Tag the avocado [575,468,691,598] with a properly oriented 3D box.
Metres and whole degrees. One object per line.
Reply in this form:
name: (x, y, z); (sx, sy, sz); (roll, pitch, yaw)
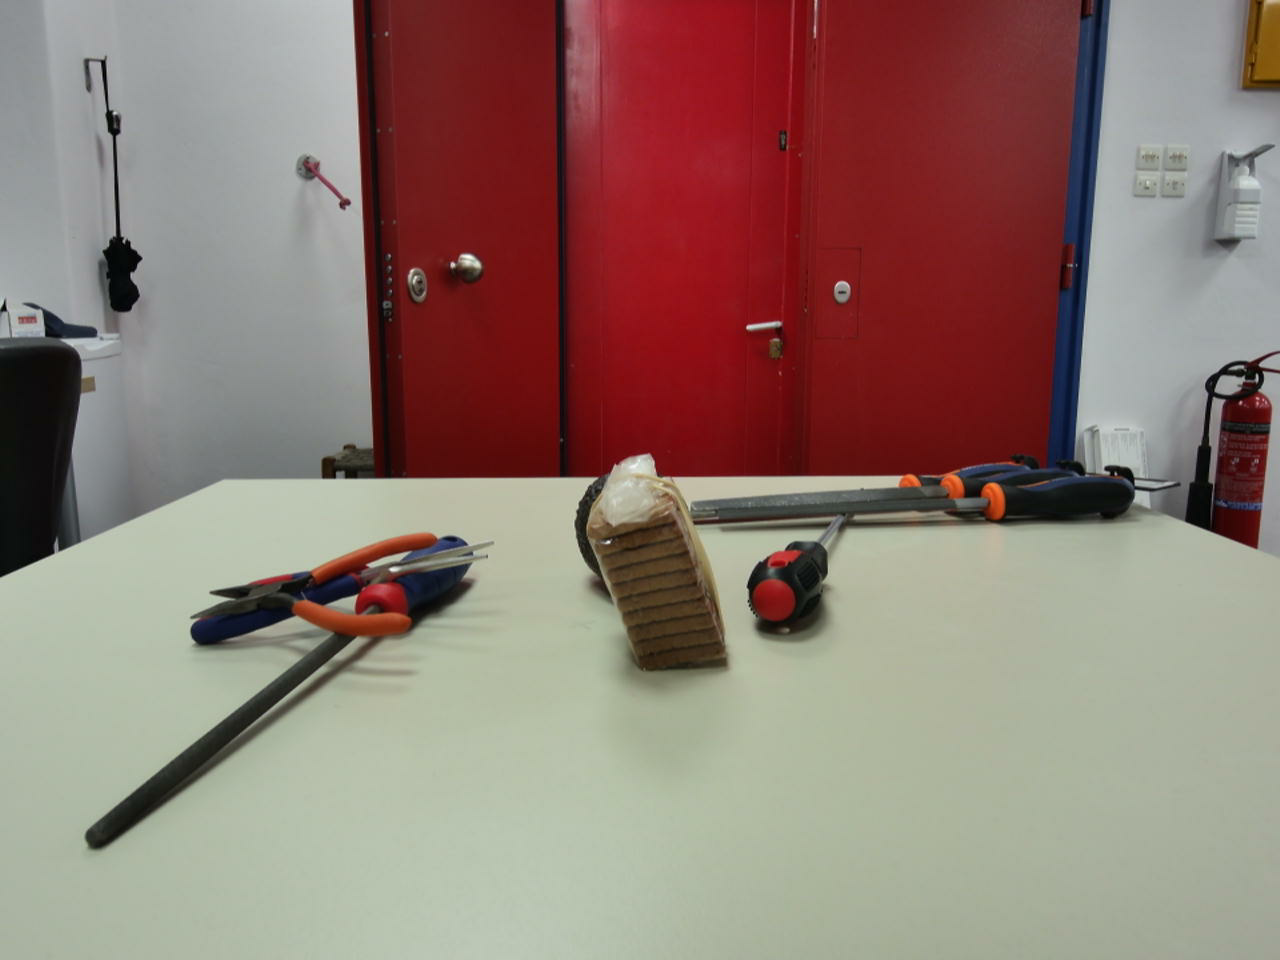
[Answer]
avocado: (-0.006, 0.028, 0.592); (0.070, 0.069, 0.090); (5, 8, 24)
